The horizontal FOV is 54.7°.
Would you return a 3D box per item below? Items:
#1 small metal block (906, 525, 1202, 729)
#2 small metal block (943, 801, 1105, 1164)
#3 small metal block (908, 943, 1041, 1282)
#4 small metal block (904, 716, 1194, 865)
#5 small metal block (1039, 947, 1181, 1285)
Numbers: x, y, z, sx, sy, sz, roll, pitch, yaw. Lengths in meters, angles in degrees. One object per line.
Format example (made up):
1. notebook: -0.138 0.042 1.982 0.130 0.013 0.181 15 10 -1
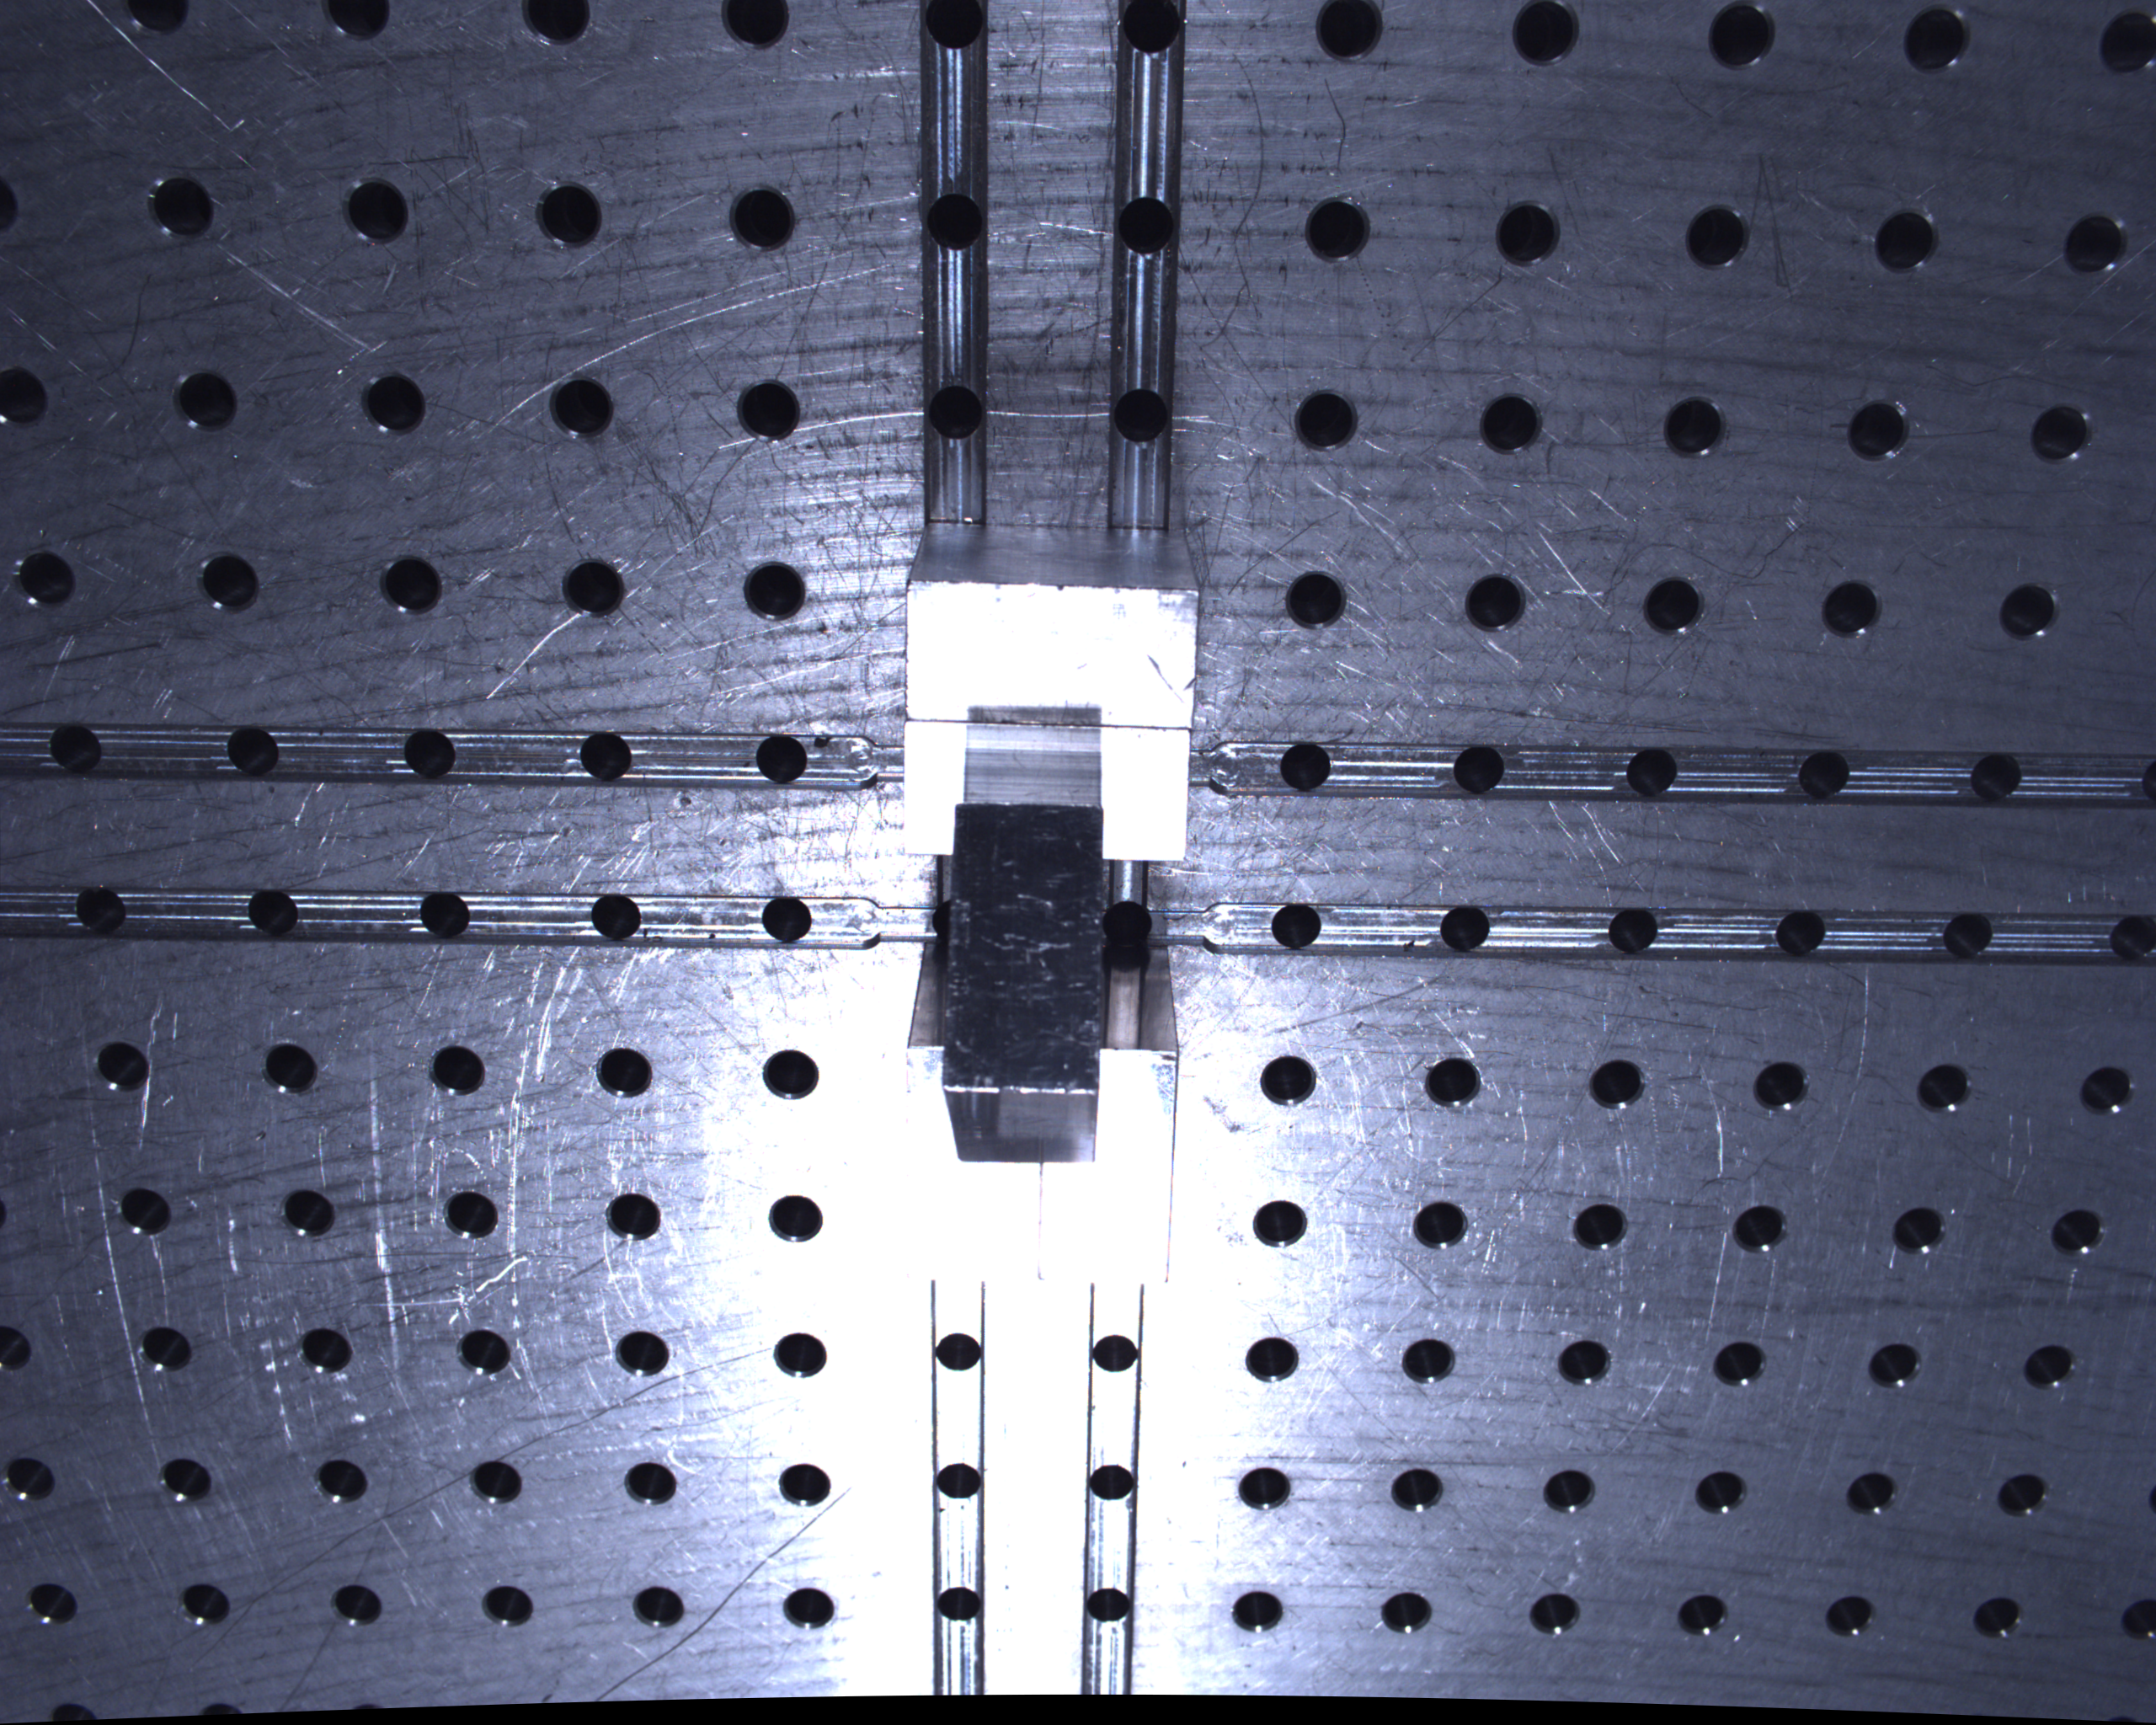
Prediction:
1. small metal block: -0.005 -0.044 0.383 0.050 0.050 0.025 2 110 -1
2. small metal block: -0.008 0.022 0.364 0.025 0.050 0.050 1 68 0
3. small metal block: -0.020 0.049 0.418 0.025 0.050 0.050 1 110 -1
4. small metal block: -0.006 -0.021 0.392 0.050 0.050 0.025 2 110 -1
5. small metal block: 0.006 0.049 0.417 0.025 0.050 0.050 1 110 -1
